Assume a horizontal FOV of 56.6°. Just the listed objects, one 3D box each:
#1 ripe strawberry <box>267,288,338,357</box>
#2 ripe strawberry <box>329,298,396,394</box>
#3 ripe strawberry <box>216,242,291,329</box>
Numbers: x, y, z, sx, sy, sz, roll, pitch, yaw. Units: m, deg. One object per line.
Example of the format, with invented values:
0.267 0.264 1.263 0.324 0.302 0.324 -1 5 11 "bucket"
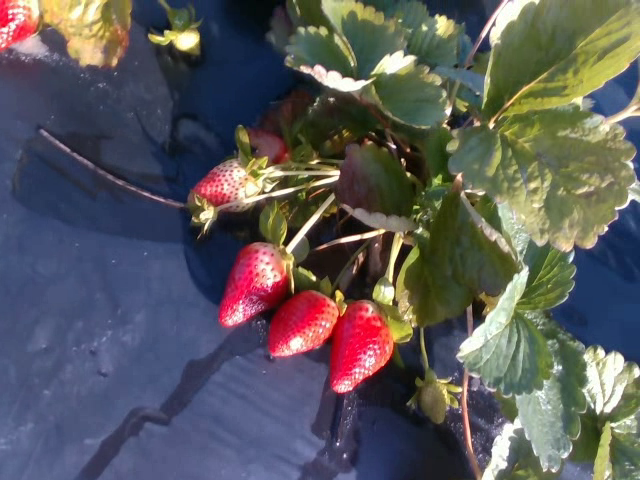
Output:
-0.009 0.038 0.265 0.036 0.031 0.039 -43 0 33 "ripe strawberry"
0.014 0.054 0.269 0.035 0.041 0.034 33 -44 2 "ripe strawberry"
-0.032 0.021 0.272 0.031 0.046 0.023 37 -7 1 "ripe strawberry"
